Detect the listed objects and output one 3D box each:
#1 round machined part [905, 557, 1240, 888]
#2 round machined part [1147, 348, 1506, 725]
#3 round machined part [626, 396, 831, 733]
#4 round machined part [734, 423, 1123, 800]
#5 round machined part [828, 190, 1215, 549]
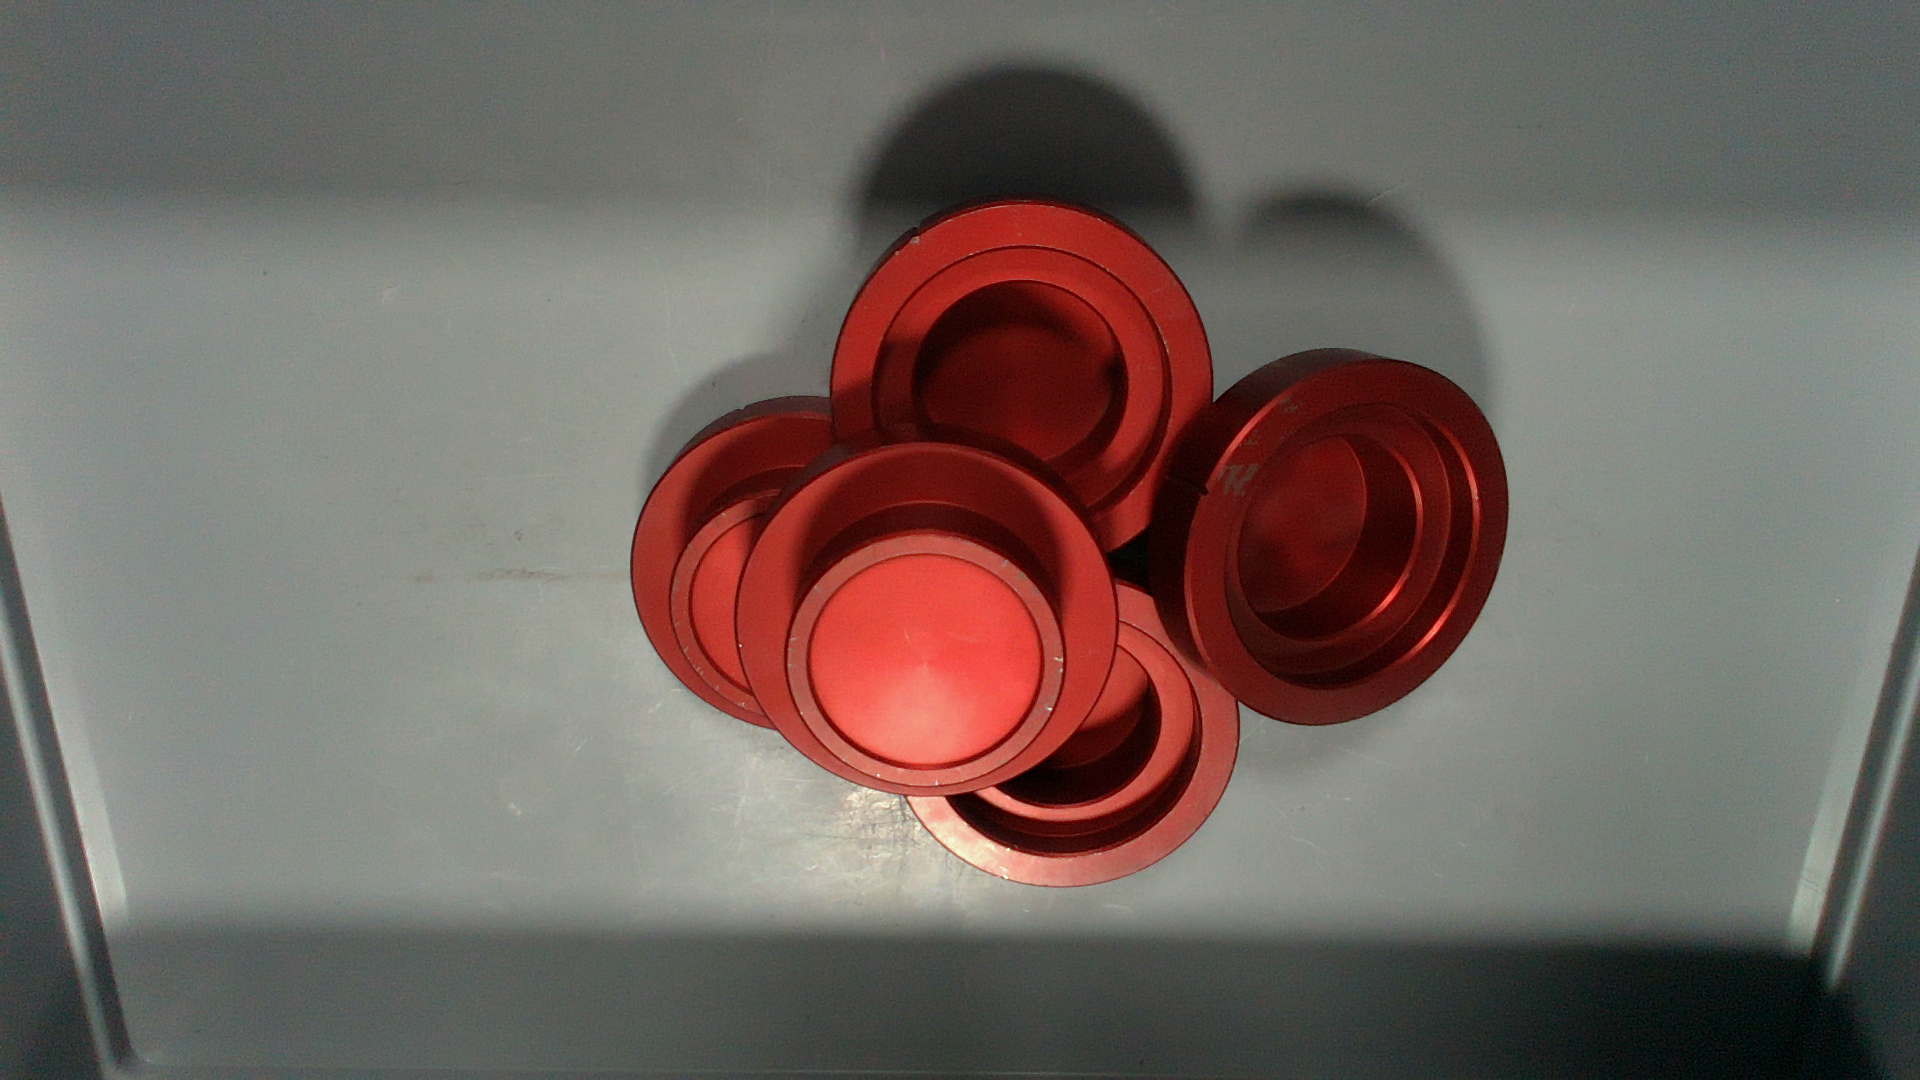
[{"bbox_3d":[0.029,0.048,0.401,0.098,0.042,0.098,0,110,0],"label":"round machined part"},{"bbox_3d":[0.094,-0.003,0.371,0.098,0.042,0.098,-6,108,-19],"label":"round machined part"},{"bbox_3d":[-0.045,0.012,0.386,0.098,0.042,0.098,0,110,0],"label":"round machined part"},{"bbox_3d":[-0.008,0.023,0.346,0.098,0.042,0.098,0,110,0],"label":"round machined part"},{"bbox_3d":[0.016,-0.044,0.368,0.098,0.042,0.098,0,110,0],"label":"round machined part"}]
